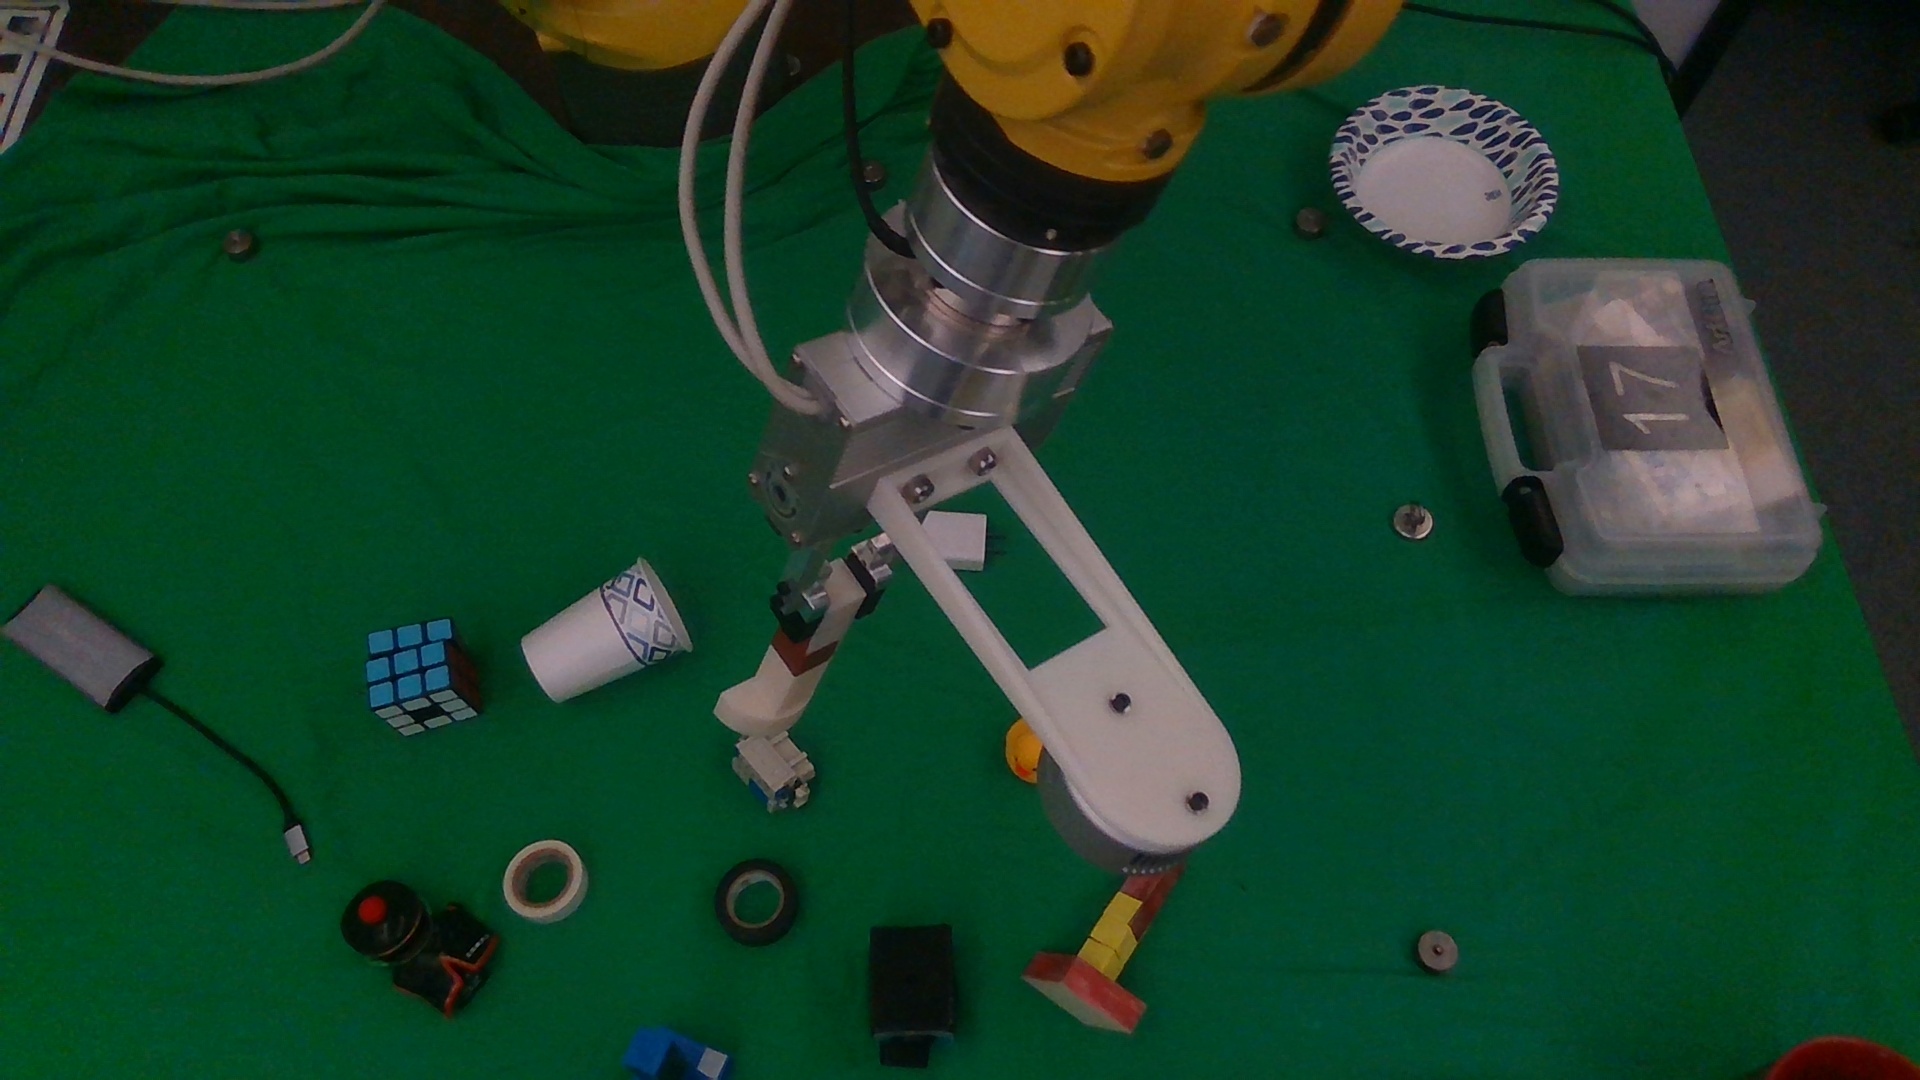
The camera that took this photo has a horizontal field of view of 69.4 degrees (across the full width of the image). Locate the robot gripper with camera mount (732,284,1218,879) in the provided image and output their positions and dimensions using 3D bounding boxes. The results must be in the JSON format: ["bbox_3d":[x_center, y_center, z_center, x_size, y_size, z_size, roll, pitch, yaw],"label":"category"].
[{"bbox_3d":[0.013,0.042,0.507,0.118,0.159,0.193,-25,65,-31],"label":"robot gripper with camera mount"}]

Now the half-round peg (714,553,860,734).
[{"bbox_3d":[-0.073,0.047,0.620,0.054,0.122,0.031,-23,69,-32],"label":"half-round peg"}]
